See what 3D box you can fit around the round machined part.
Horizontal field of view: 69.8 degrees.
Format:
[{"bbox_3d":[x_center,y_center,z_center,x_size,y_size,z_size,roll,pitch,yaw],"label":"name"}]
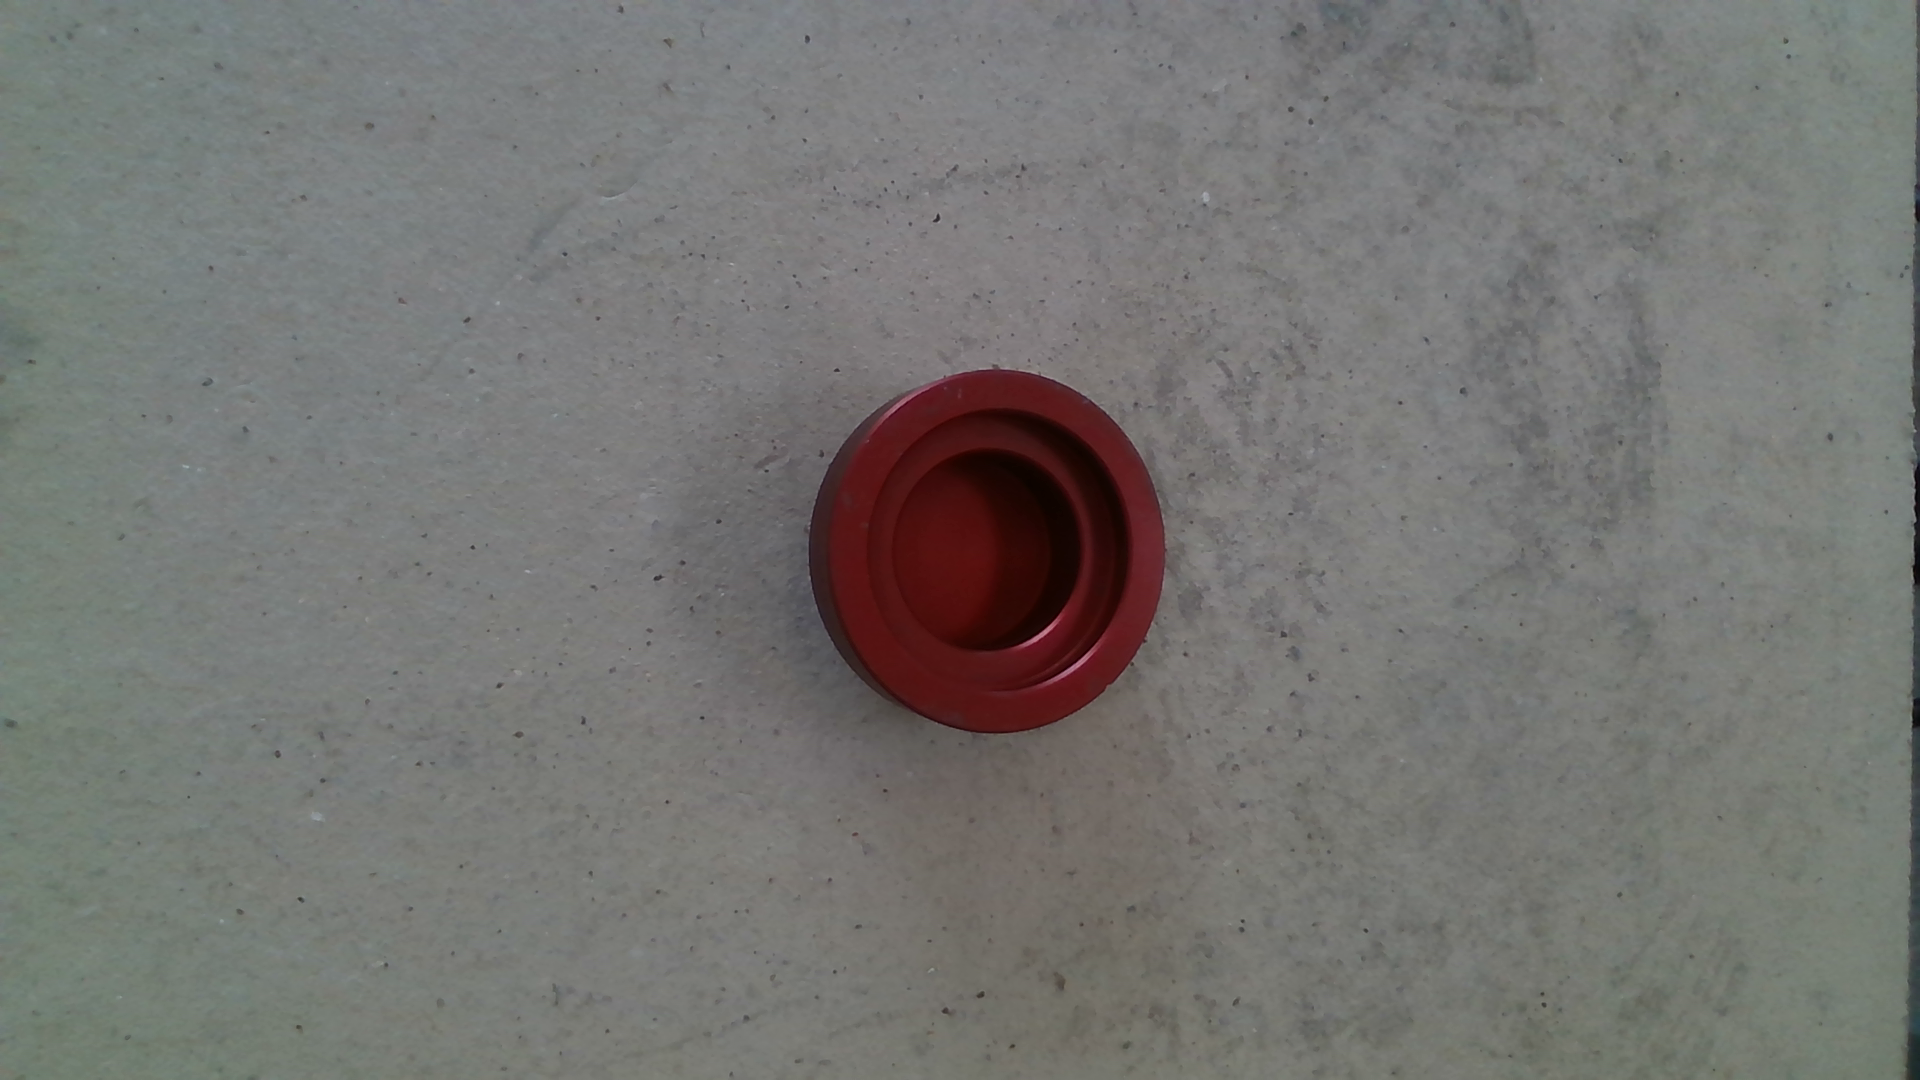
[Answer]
[{"bbox_3d":[0.005,0.003,0.387,0.098,0.042,0.098,0,90,-20],"label":"round machined part"}]
